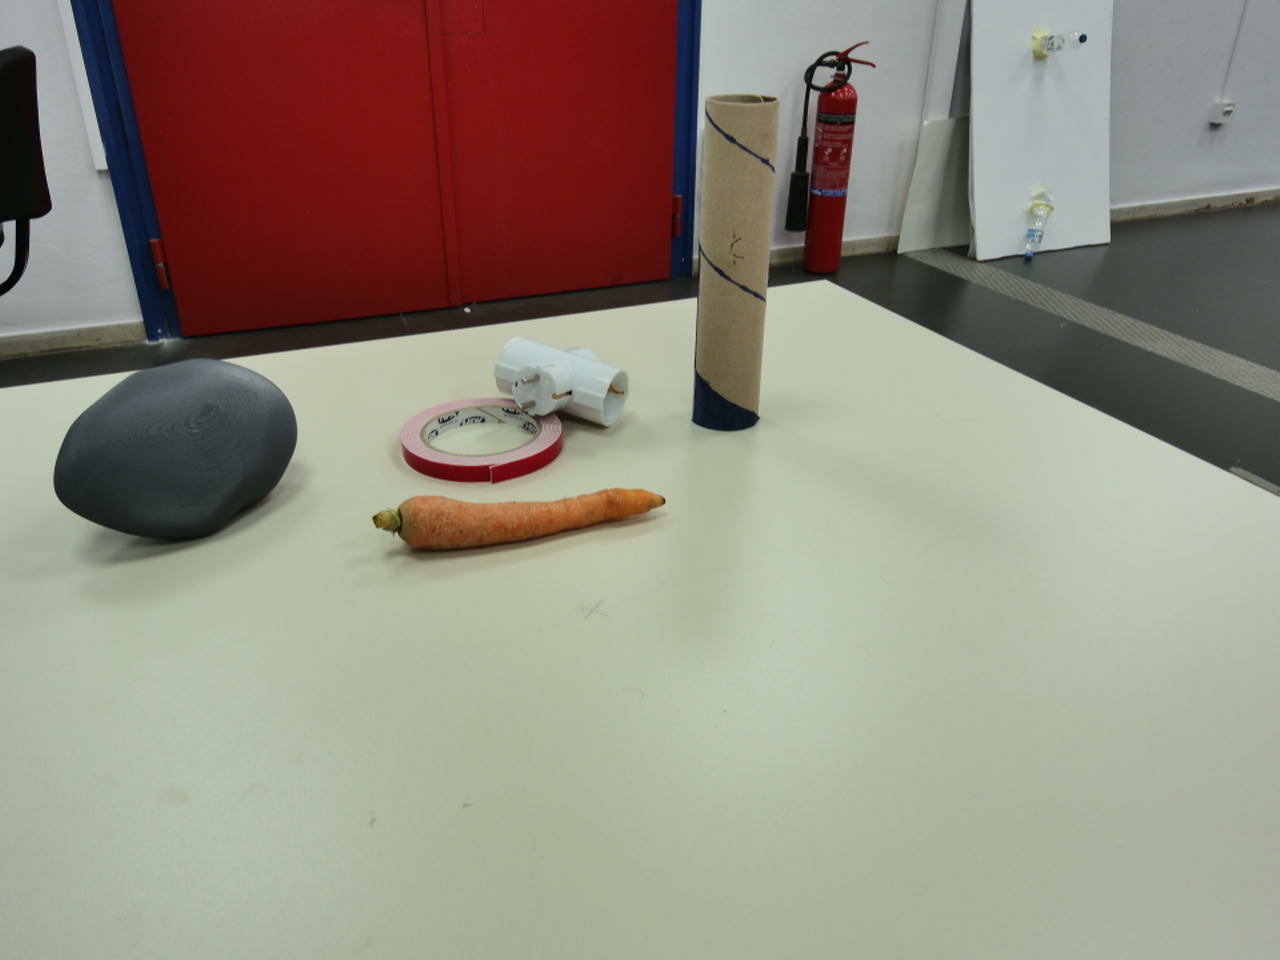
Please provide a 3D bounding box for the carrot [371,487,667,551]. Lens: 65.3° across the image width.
[{"bbox_3d":[-0.065,0.018,0.574,0.173,0.032,0.030,-6,27,-14],"label":"carrot"}]
